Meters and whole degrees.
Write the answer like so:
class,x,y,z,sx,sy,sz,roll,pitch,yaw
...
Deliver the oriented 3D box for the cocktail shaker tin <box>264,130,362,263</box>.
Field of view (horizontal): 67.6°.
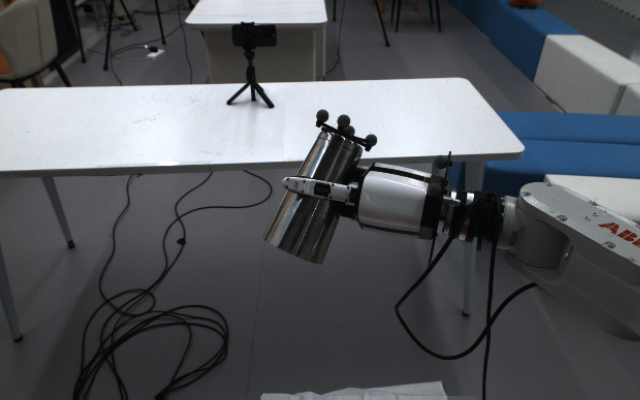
class,x,y,z,sx,sy,sz,roll,pitch,yaw
cocktail shaker tin,-0.002,-0.009,0.679,0.093,0.170,0.093,23,0,0
